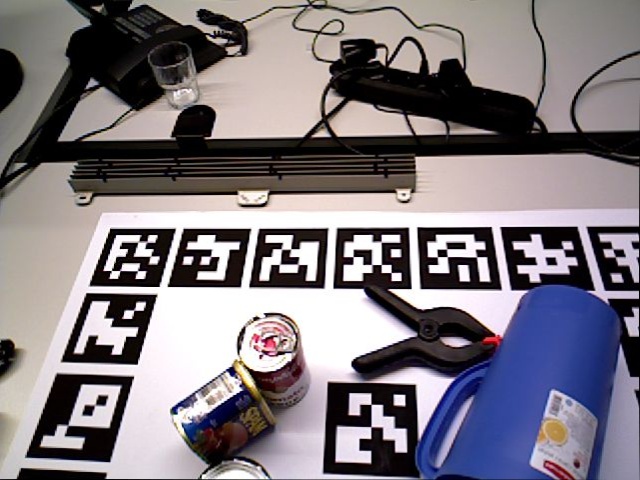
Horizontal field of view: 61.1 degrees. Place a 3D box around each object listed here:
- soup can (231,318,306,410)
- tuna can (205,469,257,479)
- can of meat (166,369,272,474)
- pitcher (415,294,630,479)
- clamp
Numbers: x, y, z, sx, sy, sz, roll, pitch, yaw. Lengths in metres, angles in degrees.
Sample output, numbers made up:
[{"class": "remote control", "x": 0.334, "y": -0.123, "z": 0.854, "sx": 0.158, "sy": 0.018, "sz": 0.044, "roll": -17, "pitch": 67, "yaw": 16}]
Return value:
[{"class": "soup can", "x": -0.054, "y": 0.140, "z": 0.602, "sx": 0.068, "sy": 0.104, "sz": 0.067, "roll": -5, "pitch": 54, "yaw": 6}, {"class": "tuna can", "x": -0.089, "y": 0.279, "z": 0.545, "sx": 0.085, "sy": 0.034, "sz": 0.084, "roll": -4, "pitch": 55, "yaw": 4}, {"class": "can of meat", "x": -0.106, "y": 0.192, "z": 0.564, "sx": 0.083, "sy": 0.103, "sz": 0.057, "roll": -31, "pitch": 57, "yaw": -12}, {"class": "pitcher", "x": 0.208, "y": 0.170, "z": 0.522, "sx": 0.191, "sy": 0.135, "sz": 0.237, "roll": 3, "pitch": 43, "yaw": 36}, {"class": "clamp", "x": 0.108, "y": 0.119, "z": 0.649, "sx": 0.165, "sy": 0.037, "sz": 0.119, "roll": 4, "pitch": 50, "yaw": 5}]
